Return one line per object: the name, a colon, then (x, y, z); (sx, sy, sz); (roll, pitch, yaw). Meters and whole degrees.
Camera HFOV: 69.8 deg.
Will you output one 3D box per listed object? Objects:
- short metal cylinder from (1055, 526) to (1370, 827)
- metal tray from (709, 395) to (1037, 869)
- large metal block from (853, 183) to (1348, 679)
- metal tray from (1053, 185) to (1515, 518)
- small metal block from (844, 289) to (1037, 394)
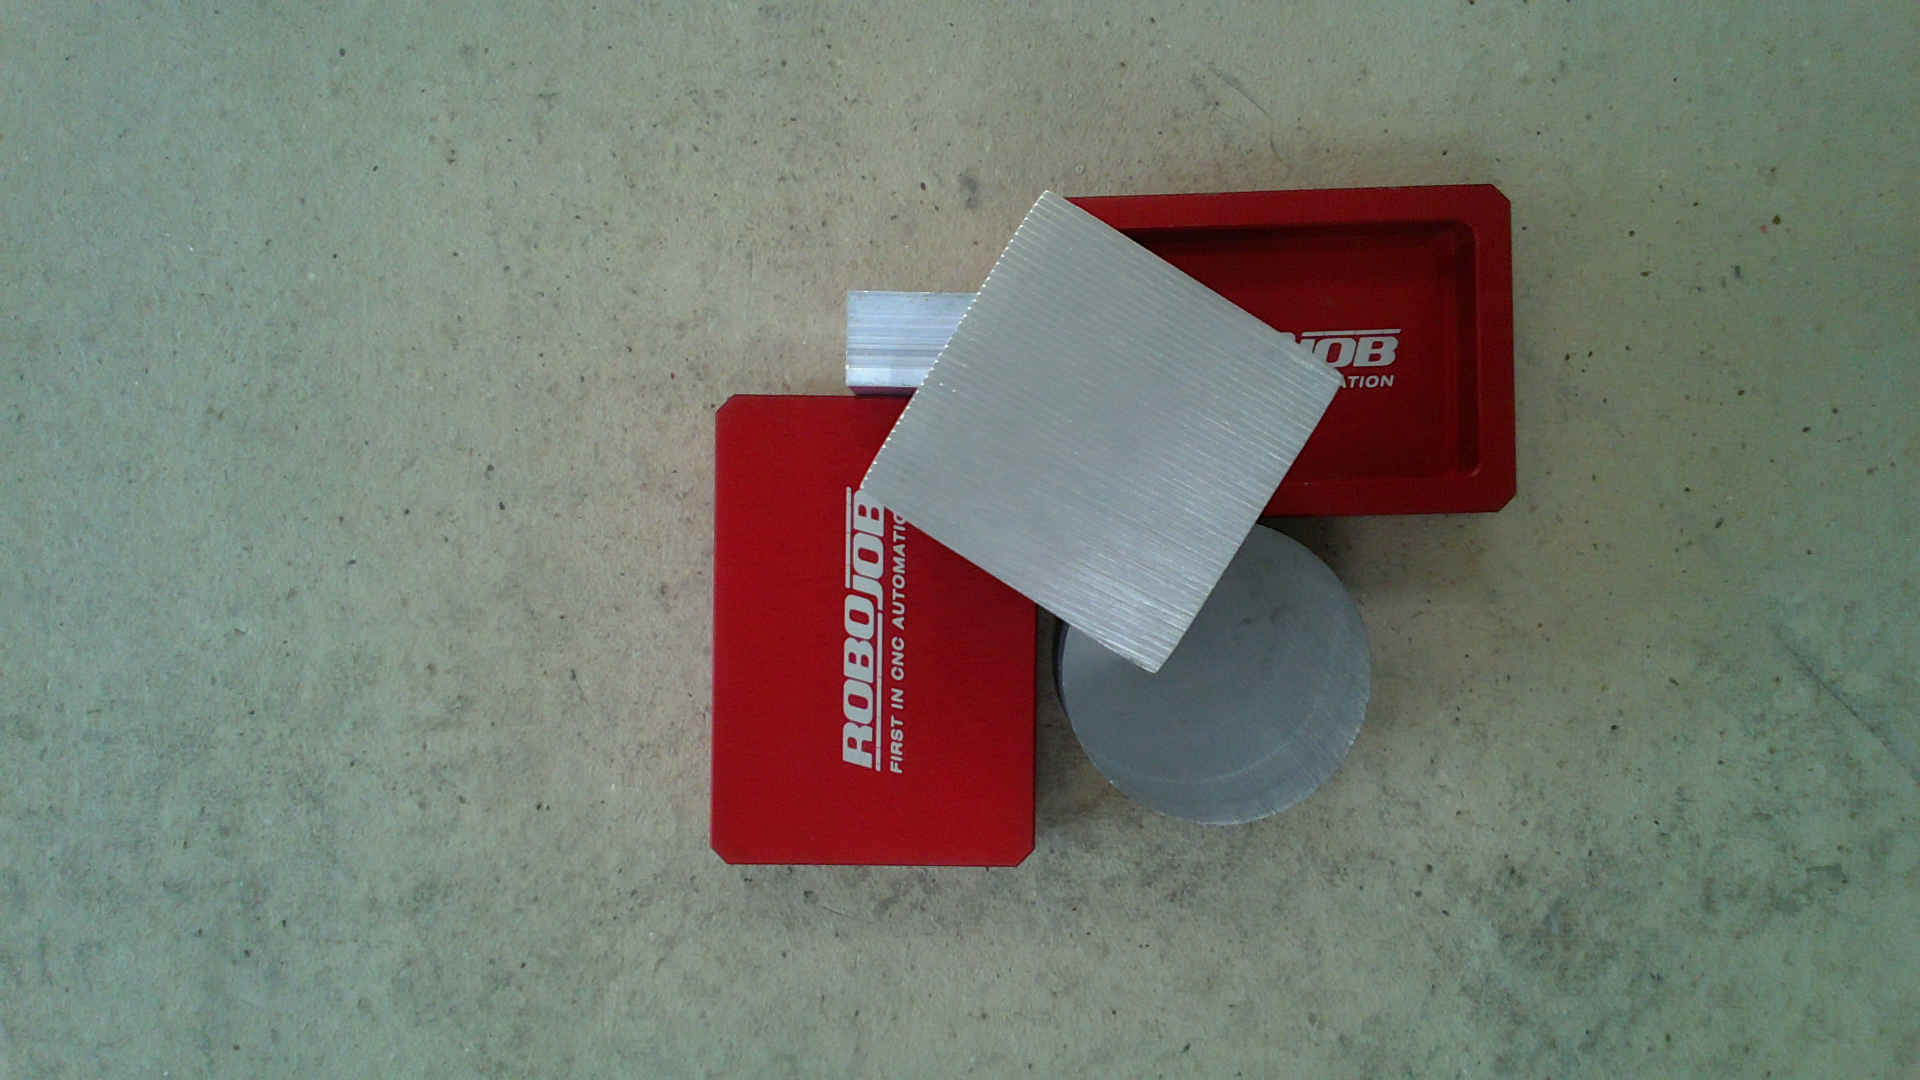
short metal cylinder: (0.067, 0.035, 0.383); (0.080, 0.050, 0.080); (0, 90, 0)
metal tray: (-0.024, 0.025, 0.394); (0.090, 0.030, 0.130); (1, 90, 0)
large metal block: (0.031, -0.024, 0.332); (0.080, 0.050, 0.080); (33, 90, 0)
metal tray: (0.087, -0.051, 0.393); (0.130, 0.030, 0.090); (-2, 90, 0)
small metal block: (-0.005, -0.052, 0.383); (0.050, 0.050, 0.025); (1, 90, 0)
